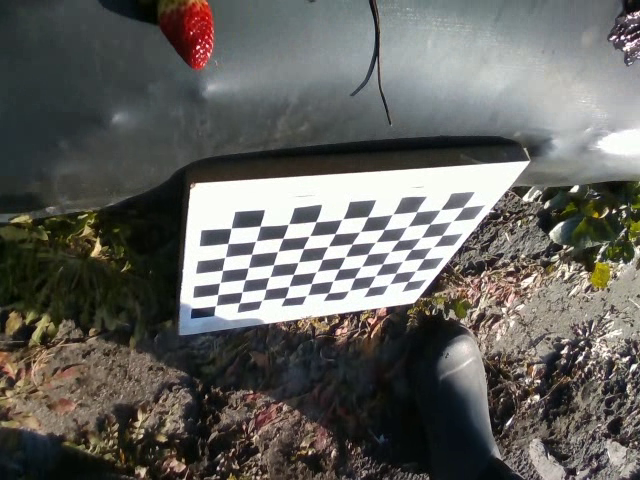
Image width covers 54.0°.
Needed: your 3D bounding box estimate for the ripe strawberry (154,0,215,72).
[{"bbox_3d":[-0.061,-0.096,0.284,0.028,0.041,0.031,-17,5,4],"label":"ripe strawberry"}]
